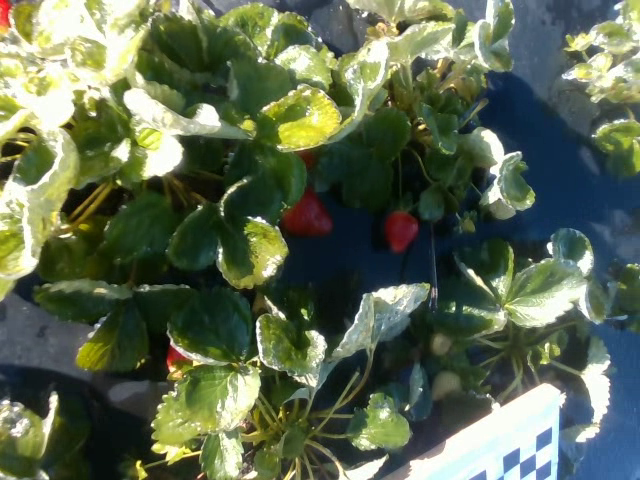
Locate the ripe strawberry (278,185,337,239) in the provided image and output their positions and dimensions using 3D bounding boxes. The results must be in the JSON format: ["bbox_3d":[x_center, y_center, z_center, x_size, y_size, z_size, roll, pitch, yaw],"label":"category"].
[{"bbox_3d":[-0.005,-0.021,0.476,0.056,0.044,0.040,35,-7,-33],"label":"ripe strawberry"}]

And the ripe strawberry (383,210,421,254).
[{"bbox_3d":[0.080,-0.006,0.514,0.039,0.047,0.040,22,-10,-34],"label":"ripe strawberry"}]
